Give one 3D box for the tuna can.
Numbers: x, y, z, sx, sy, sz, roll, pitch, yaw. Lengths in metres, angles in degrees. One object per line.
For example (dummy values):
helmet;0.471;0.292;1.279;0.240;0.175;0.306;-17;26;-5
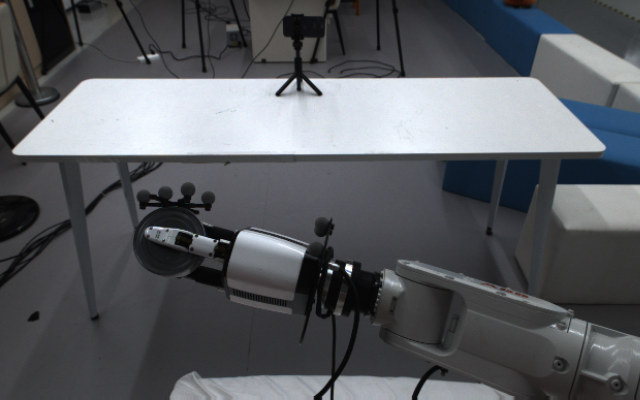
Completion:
tuna can;-0.177;0.054;0.597;0.085;0.034;0.085;1;73;-5
